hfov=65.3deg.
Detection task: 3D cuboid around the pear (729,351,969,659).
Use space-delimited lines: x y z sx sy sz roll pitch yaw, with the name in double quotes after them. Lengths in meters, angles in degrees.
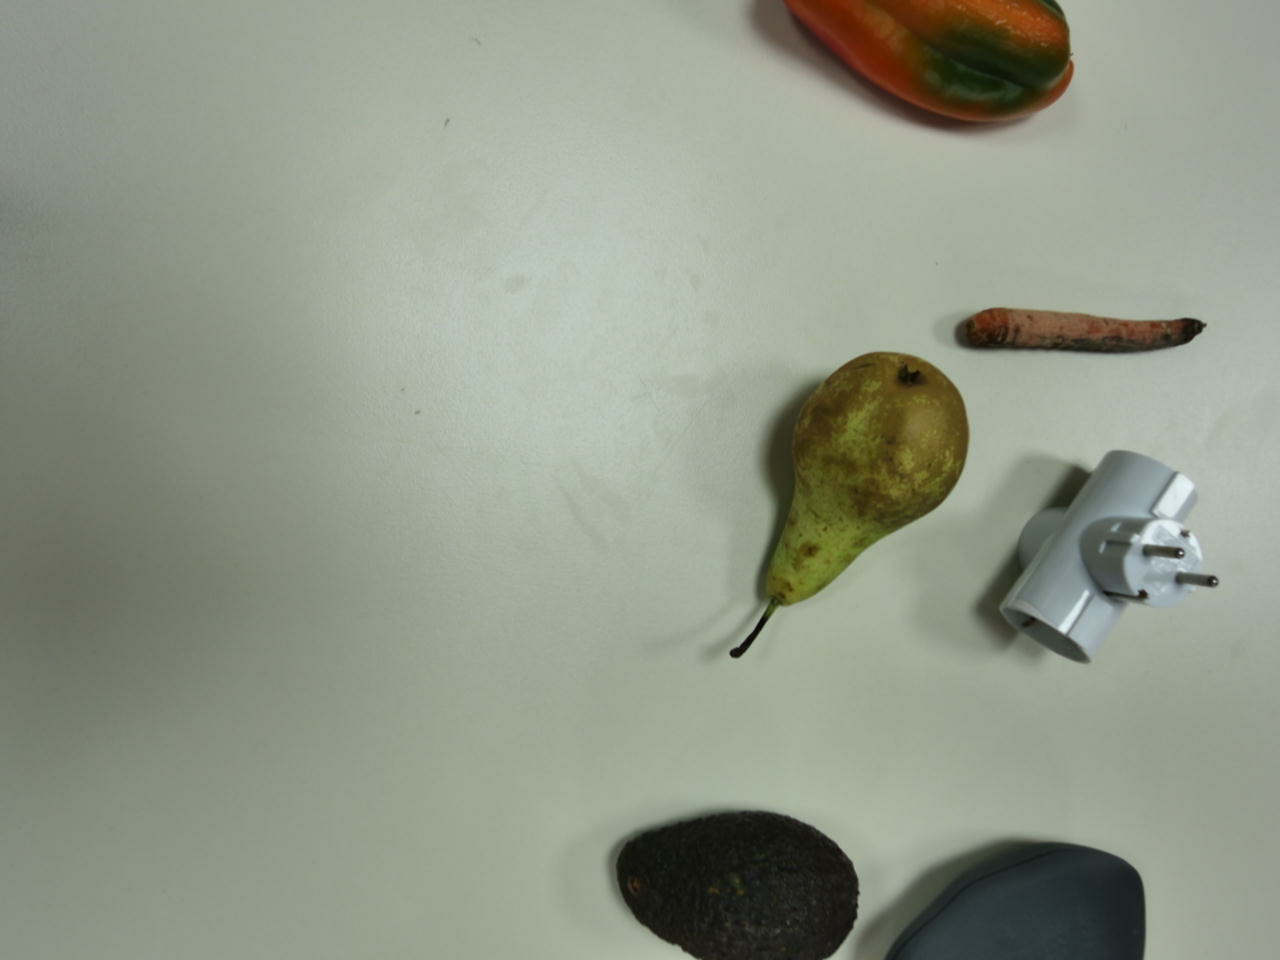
0.093 0.016 0.425 0.071 0.075 0.144 17 87 -11 "pear"
